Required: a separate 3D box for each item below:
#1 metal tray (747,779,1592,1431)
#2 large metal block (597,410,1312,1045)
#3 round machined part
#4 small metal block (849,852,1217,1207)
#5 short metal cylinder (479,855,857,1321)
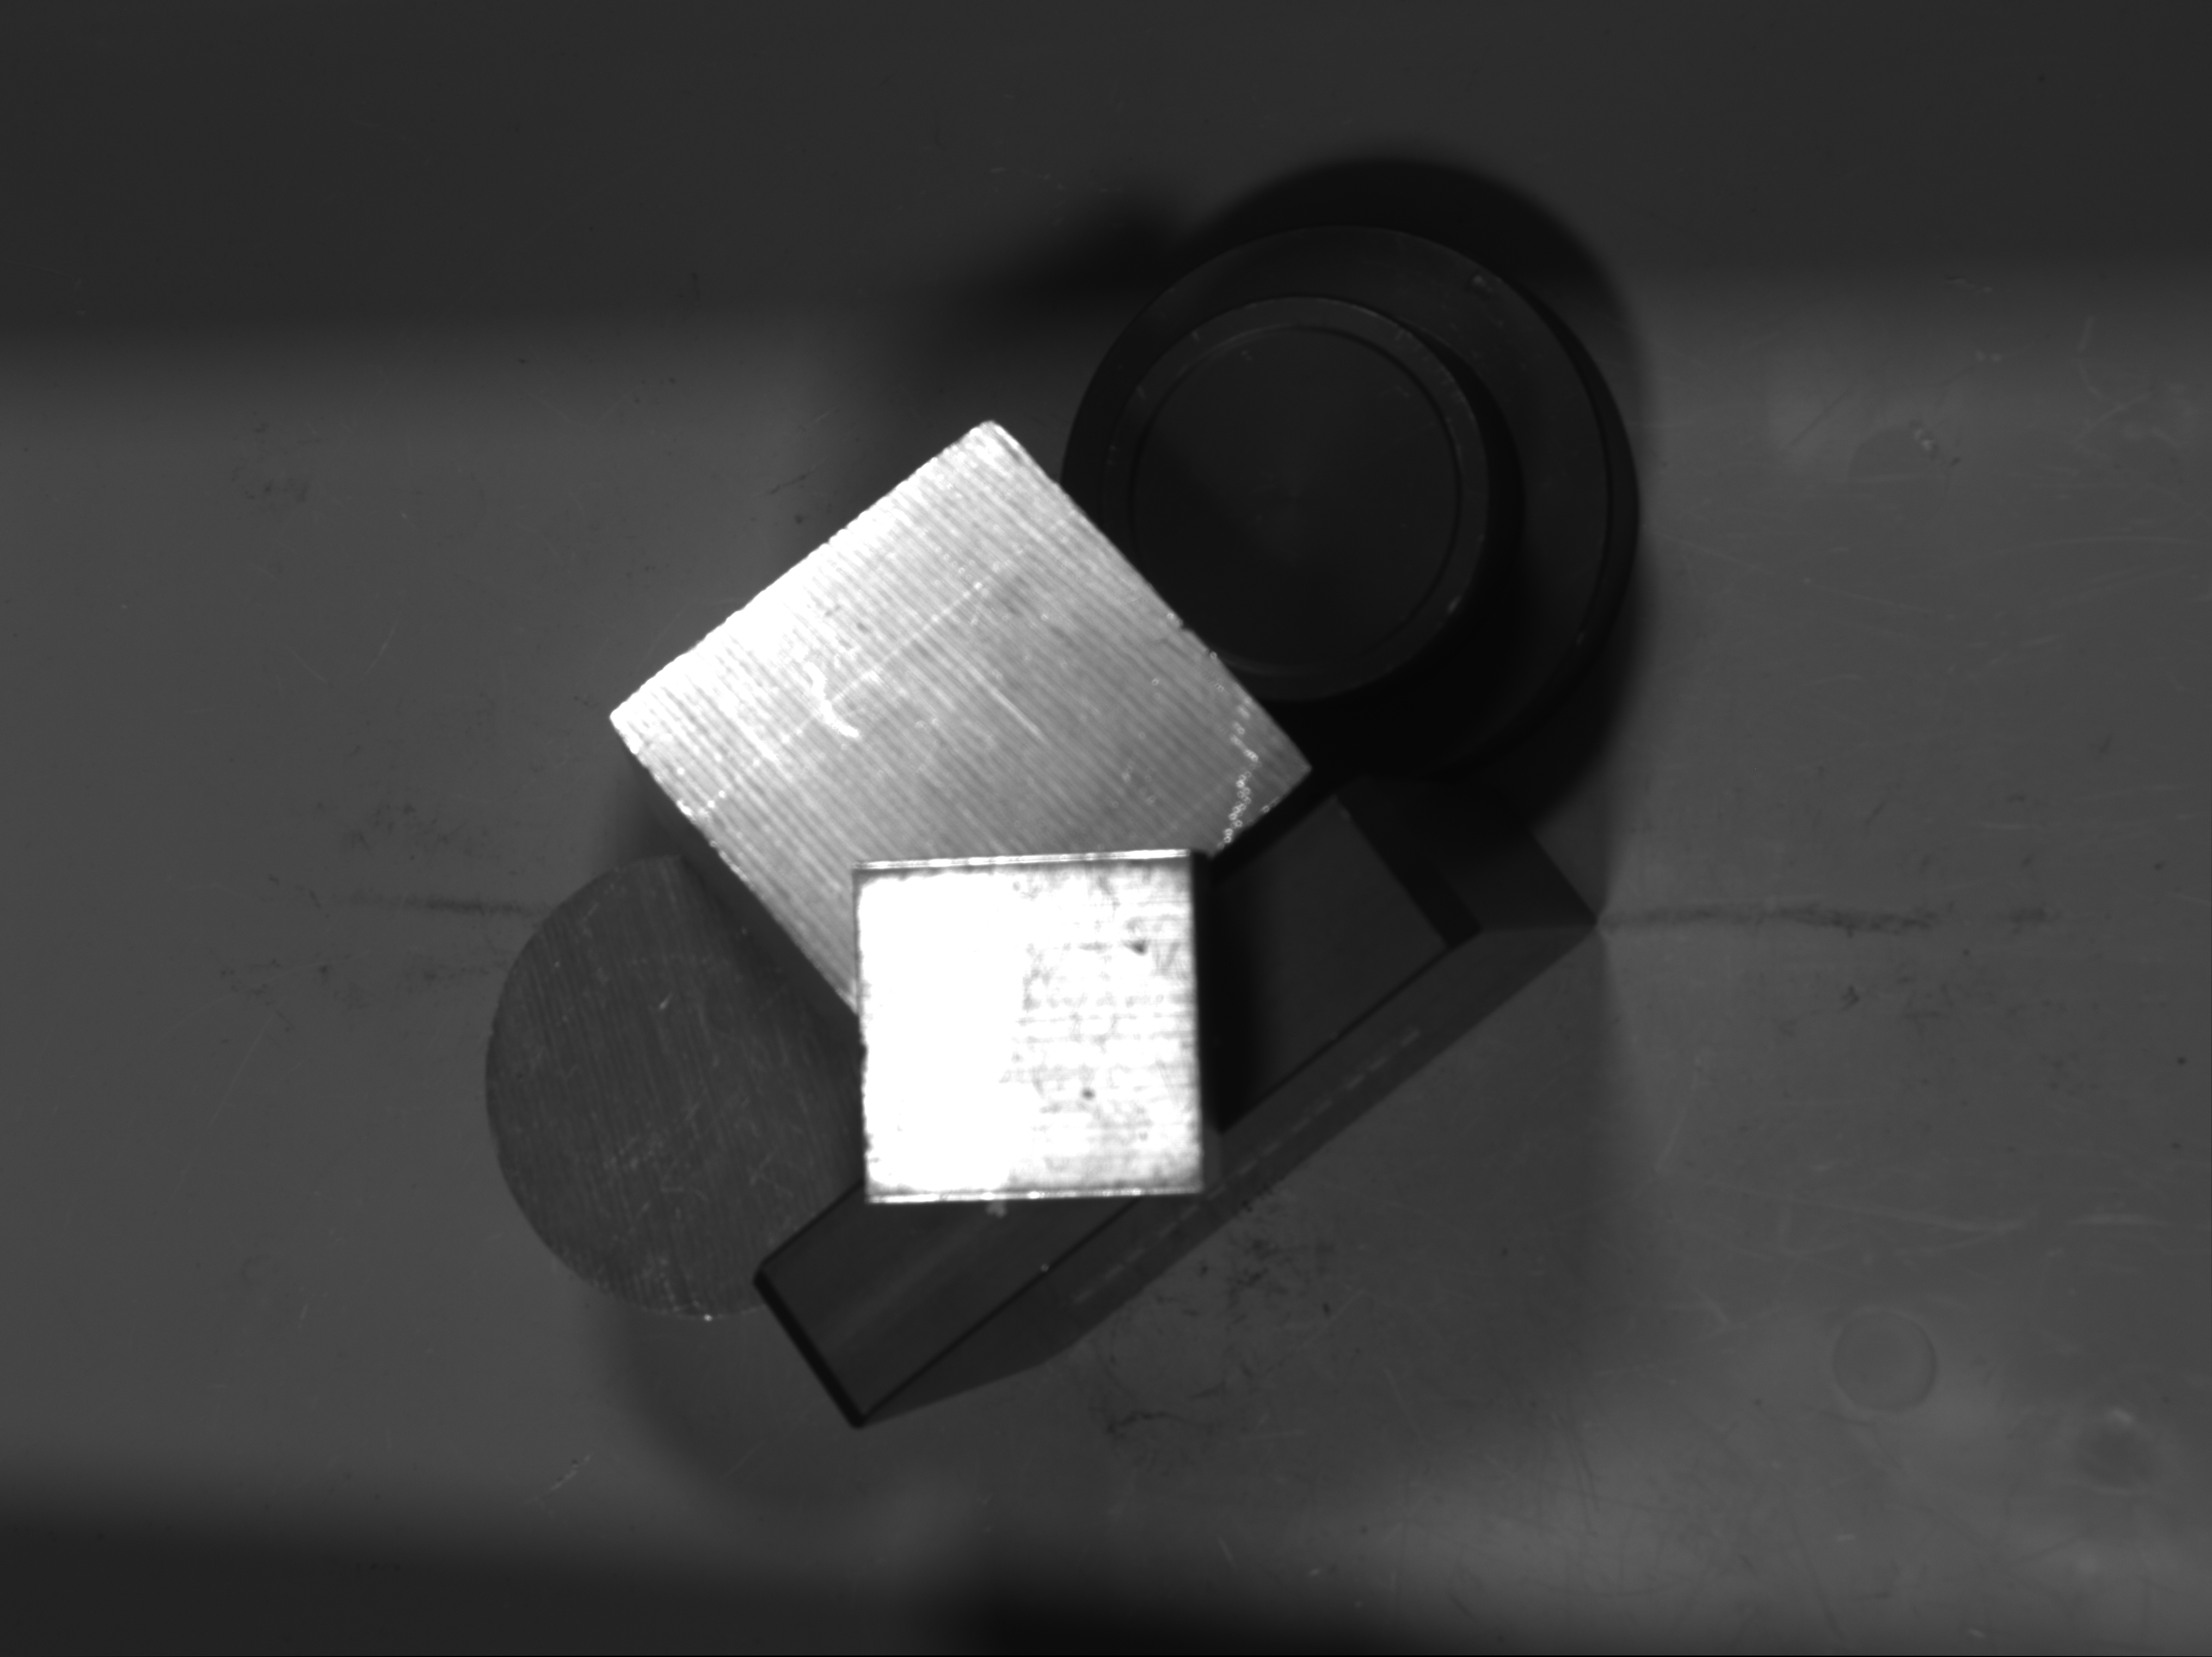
[{"bbox_3d":[0.013,0.045,0.603,0.130,0.090,0.030,-40,76,15],"label":"metal tray"},{"bbox_3d":[-0.023,-0.006,0.600,0.080,0.050,0.080,-39,76,-10],"label":"large metal block"},{"bbox_3d":[0.036,-0.054,0.621,0.098,0.042,0.098,0,90,20],"label":"round machined part"},{"bbox_3d":[-0.010,0.030,0.545,0.050,0.025,0.050,-2,88,7],"label":"small metal block"},{"bbox_3d":[-0.064,0.045,0.652,0.080,0.050,0.080,0,90,20],"label":"short metal cylinder"}]
